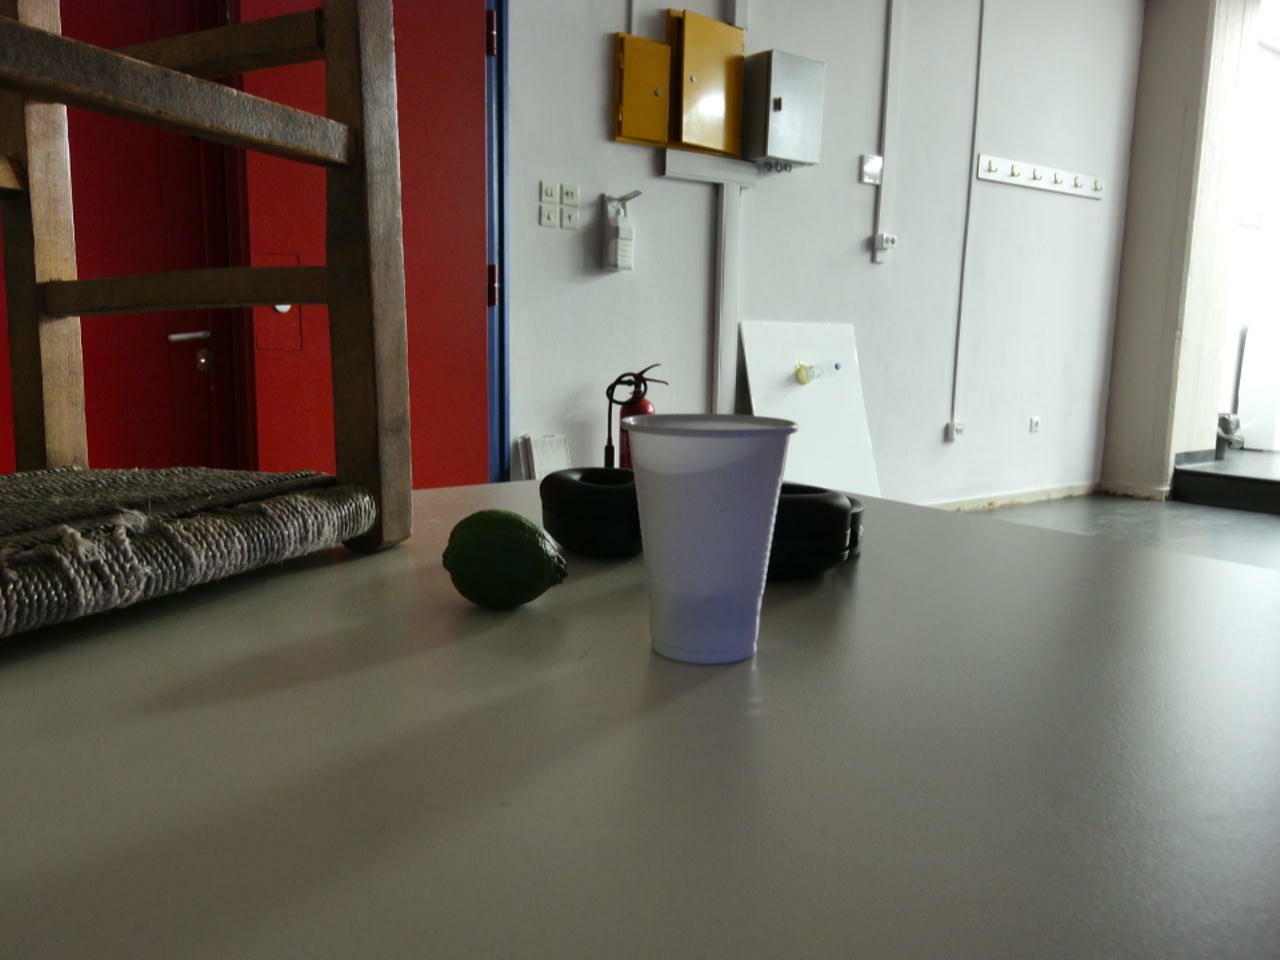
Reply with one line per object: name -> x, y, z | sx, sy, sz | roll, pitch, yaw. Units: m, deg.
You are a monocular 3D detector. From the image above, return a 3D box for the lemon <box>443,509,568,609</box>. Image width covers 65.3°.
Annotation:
lemon -> -0.072, 0.040, 0.519 | 0.057, 0.051, 0.054 | -5, 8, -40
